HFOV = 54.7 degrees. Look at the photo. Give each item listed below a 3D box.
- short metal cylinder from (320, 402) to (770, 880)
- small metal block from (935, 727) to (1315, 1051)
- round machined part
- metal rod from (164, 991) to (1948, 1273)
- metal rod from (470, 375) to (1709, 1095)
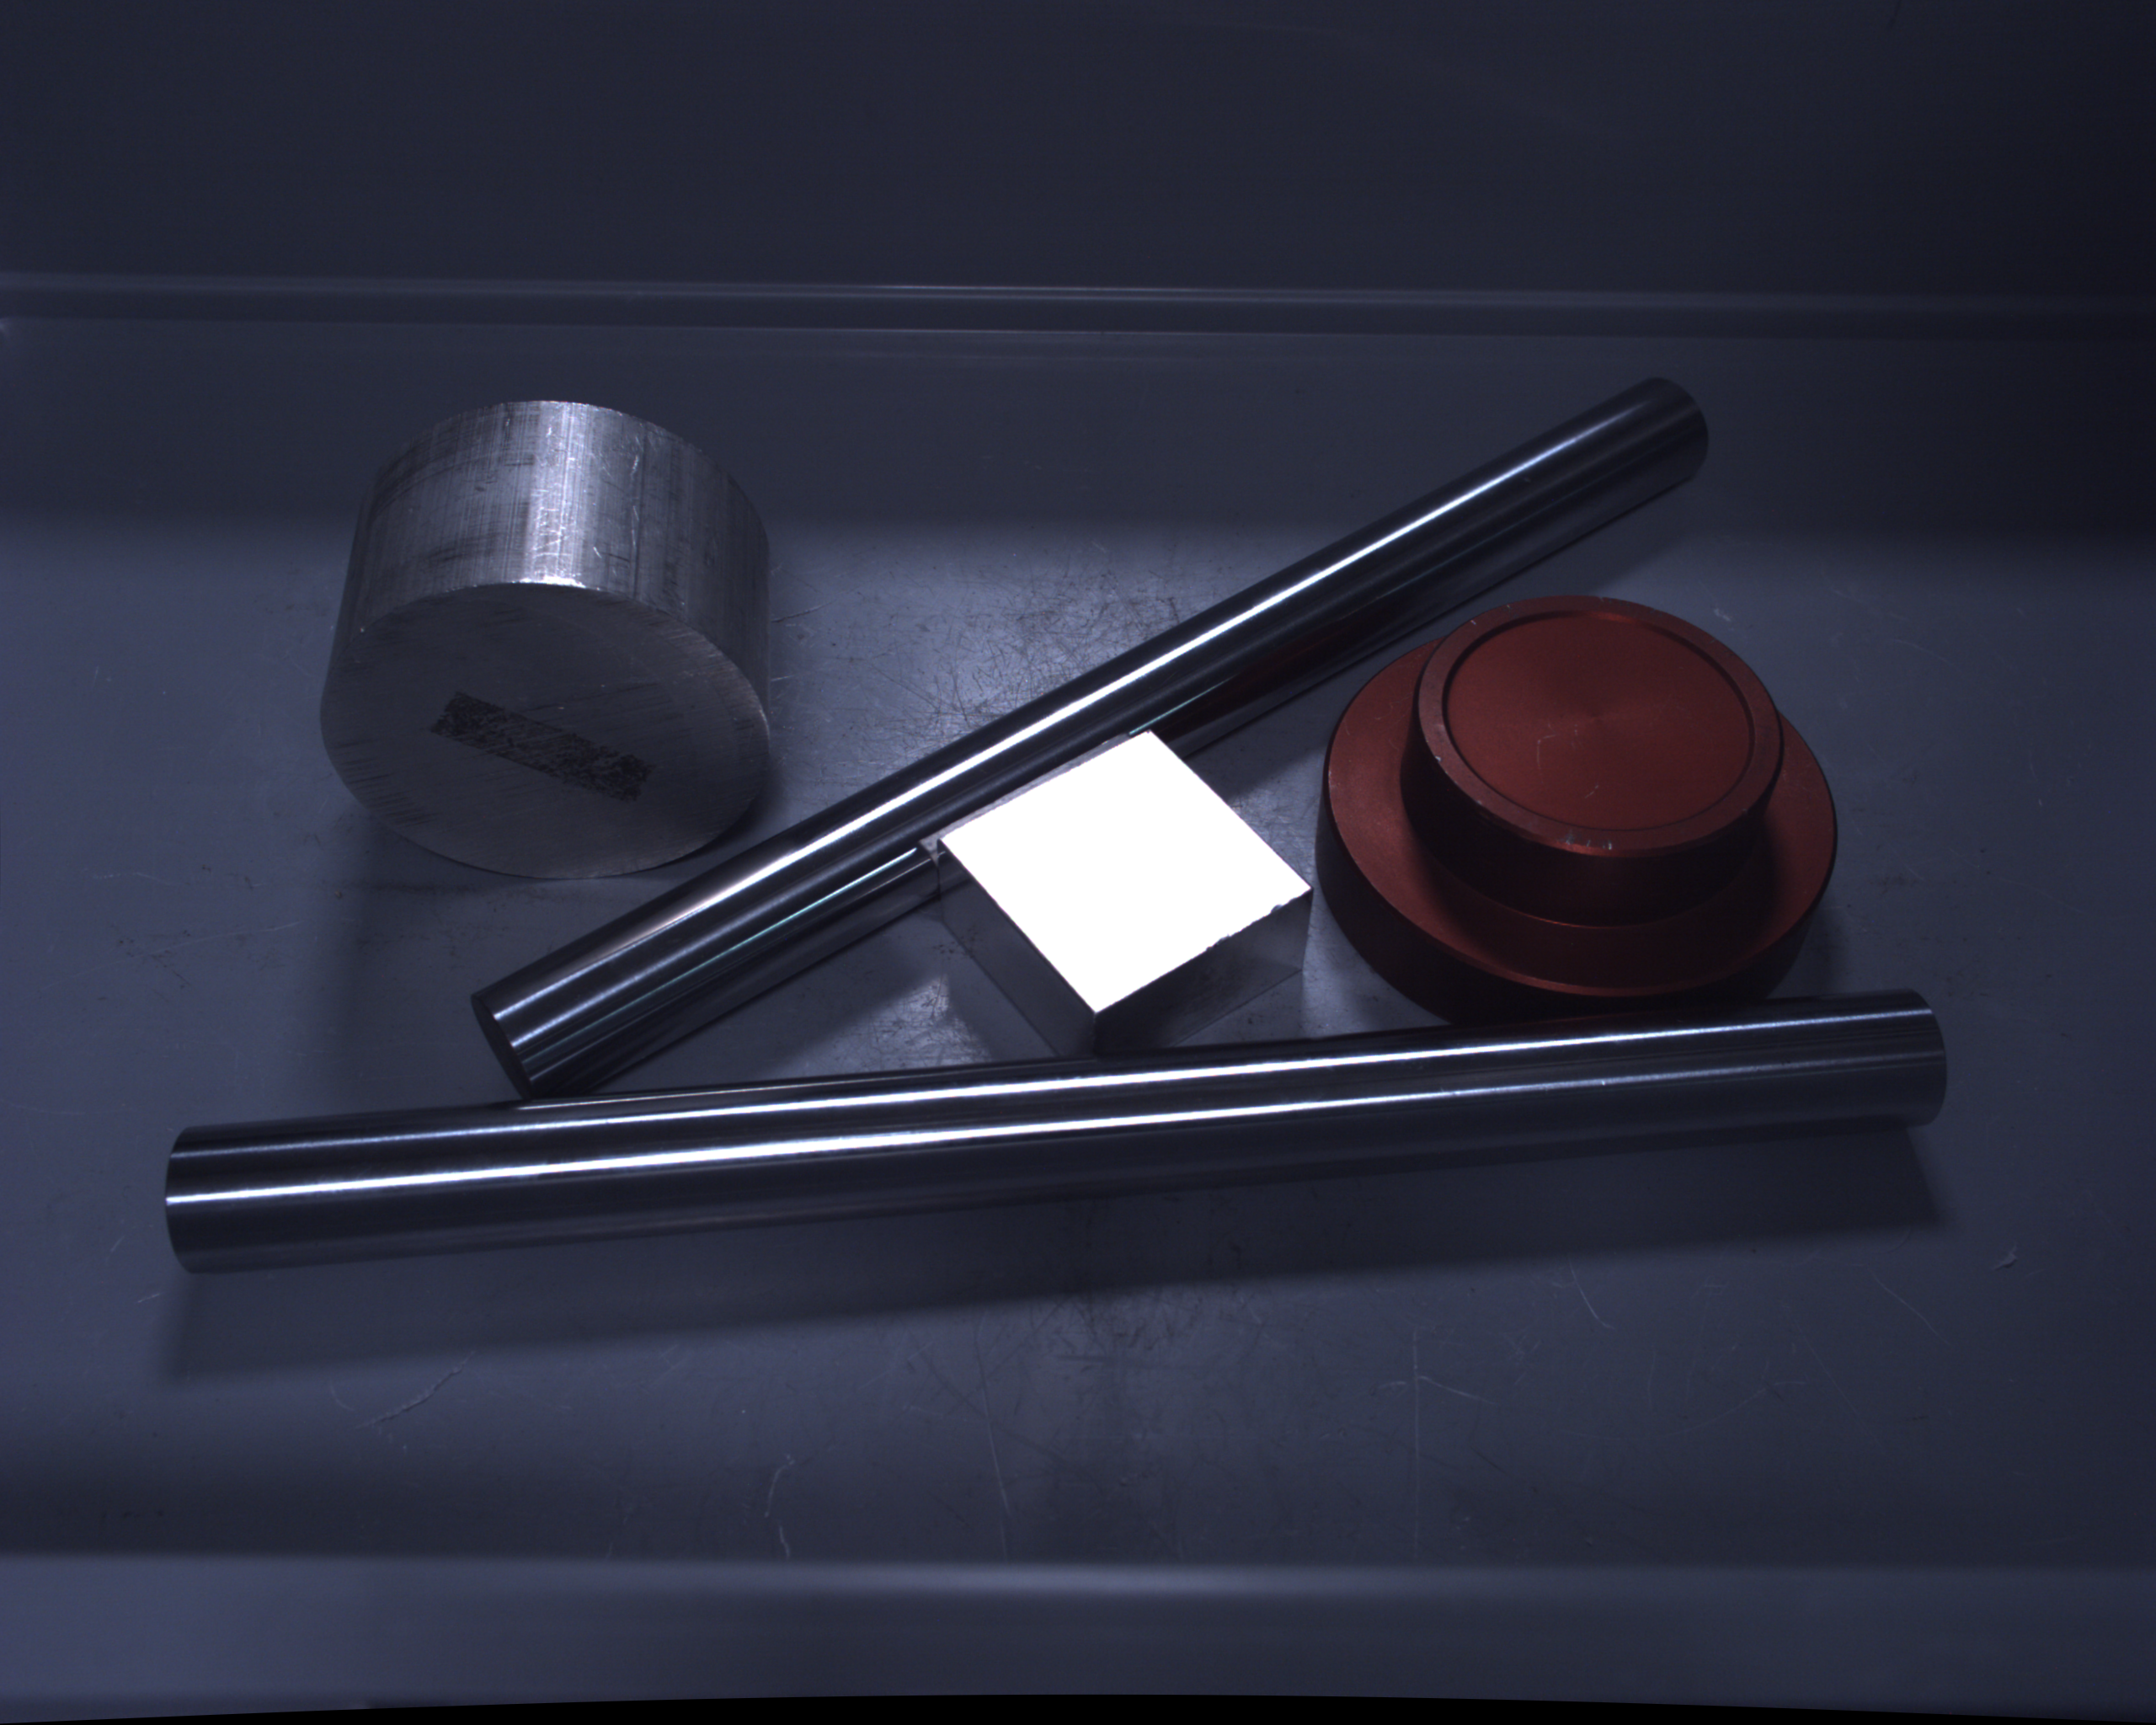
[{"bbox_3d":[-0.100,-0.041,0.401,0.081,0.080,0.050,-4,50,-4],"label":"short metal cylinder"},{"bbox_3d":[0.008,0.008,0.396,0.050,0.025,0.050,-29,56,-22],"label":"small metal block"},{"bbox_3d":[0.097,-0.015,0.404,0.099,0.042,0.098,0,50,0],"label":"round machined part"},{"bbox_3d":[0.000,0.046,0.364,0.302,0.025,0.025,-4,50,-4],"label":"metal rod"},{"bbox_3d":[0.018,-0.034,0.432,0.302,0.025,0.025,-30,56,-23],"label":"metal rod"}]
